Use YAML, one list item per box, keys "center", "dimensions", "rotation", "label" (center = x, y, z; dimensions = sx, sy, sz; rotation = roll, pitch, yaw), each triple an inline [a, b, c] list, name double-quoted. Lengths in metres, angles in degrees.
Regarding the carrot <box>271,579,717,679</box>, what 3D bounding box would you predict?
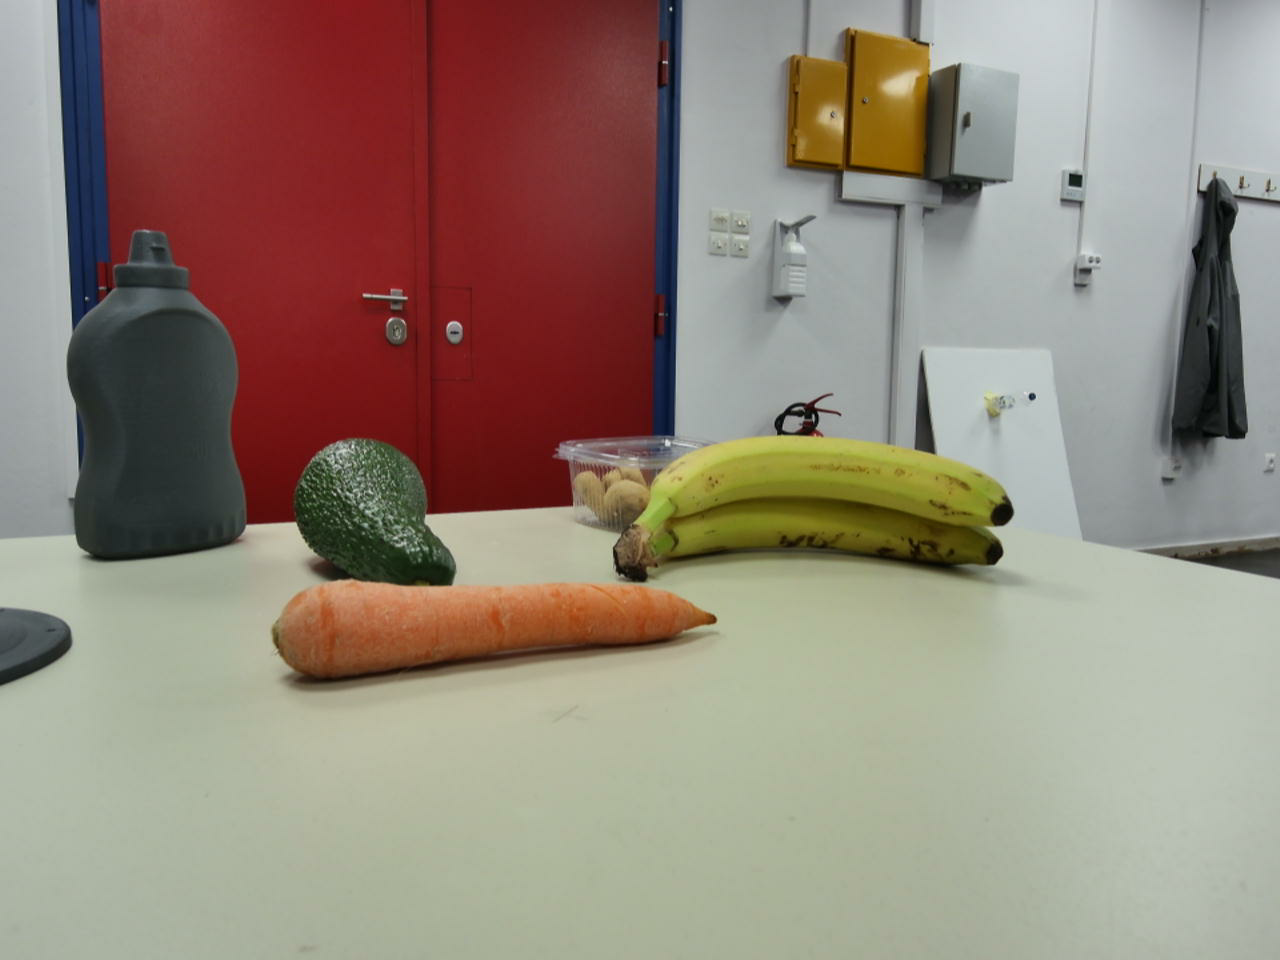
- center: [-0.054, 0.057, 0.434]
  dimensions: [0.196, 0.041, 0.039]
  rotation: [-3, 5, -25]
  label: "carrot"
